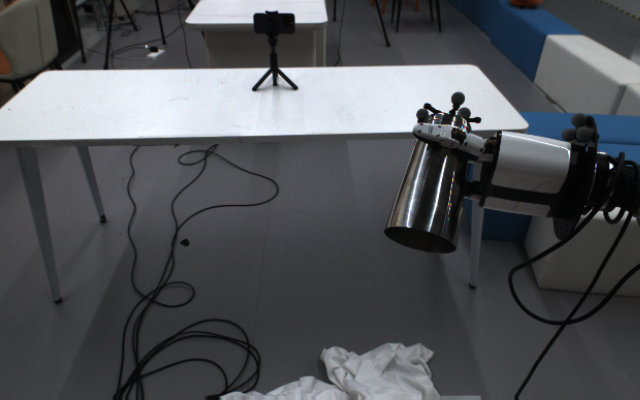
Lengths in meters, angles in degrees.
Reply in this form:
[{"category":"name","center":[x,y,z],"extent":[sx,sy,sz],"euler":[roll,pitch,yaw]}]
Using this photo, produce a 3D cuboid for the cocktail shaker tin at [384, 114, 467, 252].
[{"category":"cocktail shaker tin","center":[0.152,-0.028,0.640],"extent":[0.093,0.093,0.170],"euler":[13,72,15]}]
